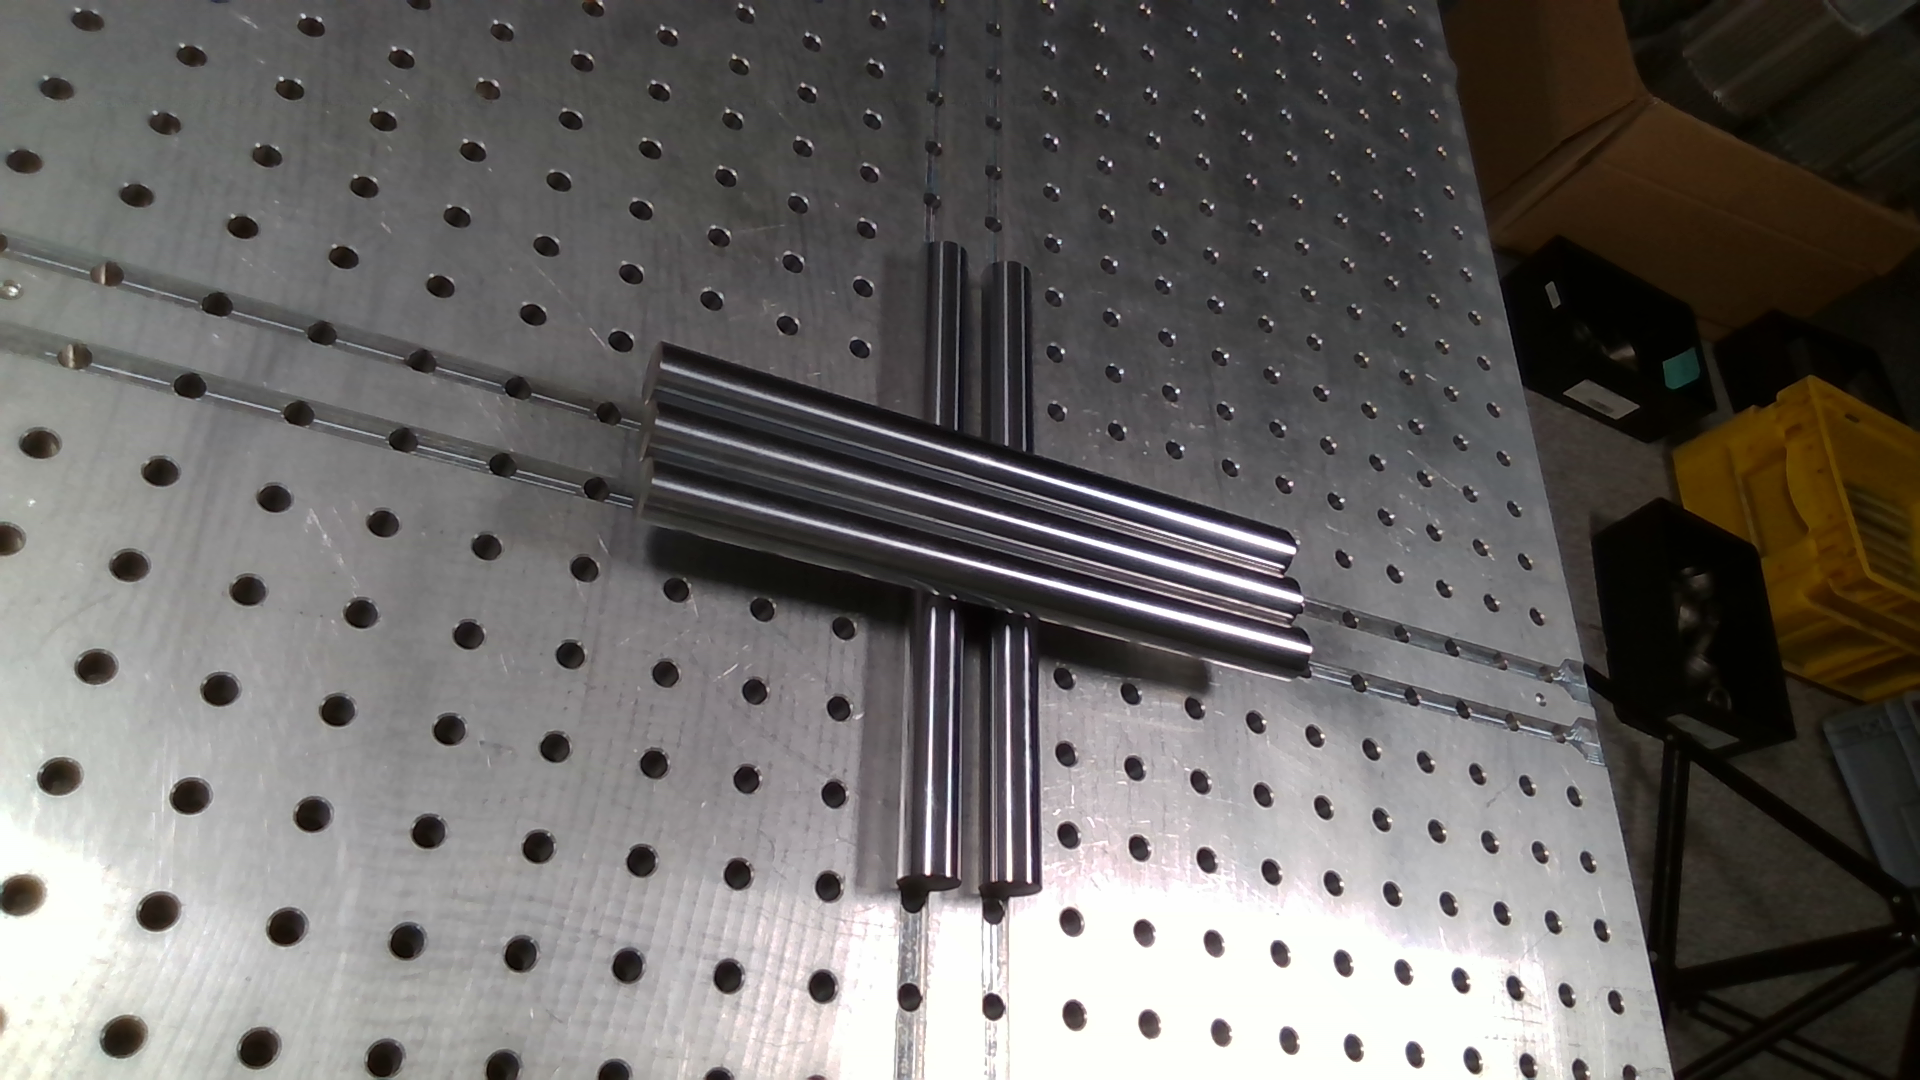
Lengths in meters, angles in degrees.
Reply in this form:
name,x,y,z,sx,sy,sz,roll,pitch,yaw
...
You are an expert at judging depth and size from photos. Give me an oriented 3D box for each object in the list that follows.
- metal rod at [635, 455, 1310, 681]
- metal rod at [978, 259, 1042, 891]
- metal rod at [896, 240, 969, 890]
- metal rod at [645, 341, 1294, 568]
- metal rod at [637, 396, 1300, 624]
name,x,y,z,sx,sy,sz,roll,pitch,yaw
metal rod,0.018,0.016,0.559,0.300,0.025,0.025,15,58,-25
metal rod,0.021,0.002,0.601,0.025,0.025,0.299,15,58,-24
metal rod,-0.010,-0.004,0.585,0.025,0.025,0.299,15,58,-24
metal rod,0.016,-0.028,0.582,0.300,0.025,0.025,15,58,-25
metal rod,0.016,-0.006,0.571,0.300,0.025,0.025,15,58,-25
